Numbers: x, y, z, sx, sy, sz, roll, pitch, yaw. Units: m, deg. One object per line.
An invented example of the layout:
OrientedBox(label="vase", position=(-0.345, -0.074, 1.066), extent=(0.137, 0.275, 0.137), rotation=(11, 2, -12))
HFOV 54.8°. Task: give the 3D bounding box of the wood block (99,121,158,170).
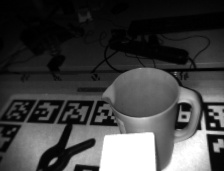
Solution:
OrientedBox(label="wood block", position=(0.045, 0.168, 0.418), extent=(0.089, 0.208, 0.090), rotation=(-2, 44, 11))

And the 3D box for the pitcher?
OrientedBox(label="pitcher", position=(0.086, 0.071, 0.485), extent=(0.187, 0.245, 0.133), rotation=(-5, 41, 17))

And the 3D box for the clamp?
OrientedBox(label="clamp", position=(-0.139, 0.174, 0.606), extent=(0.120, 0.037, 0.166), rotation=(27, 57, 28))
